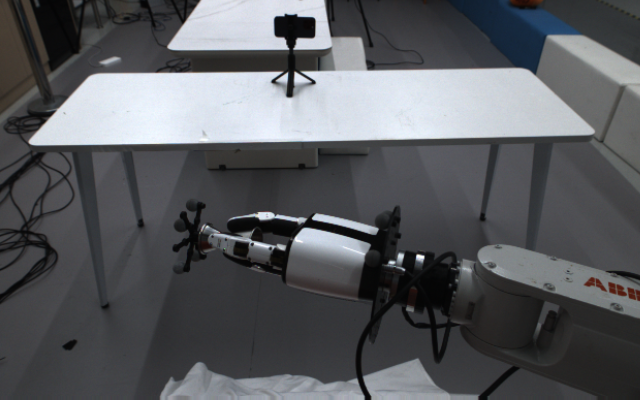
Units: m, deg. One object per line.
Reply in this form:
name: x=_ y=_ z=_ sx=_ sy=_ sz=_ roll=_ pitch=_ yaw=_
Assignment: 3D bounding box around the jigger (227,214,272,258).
jigger: x=-0.103 y=0.048 z=0.597 sx=0.071 sy=0.043 sz=0.043 roll=6 pitch=35 yaw=14
